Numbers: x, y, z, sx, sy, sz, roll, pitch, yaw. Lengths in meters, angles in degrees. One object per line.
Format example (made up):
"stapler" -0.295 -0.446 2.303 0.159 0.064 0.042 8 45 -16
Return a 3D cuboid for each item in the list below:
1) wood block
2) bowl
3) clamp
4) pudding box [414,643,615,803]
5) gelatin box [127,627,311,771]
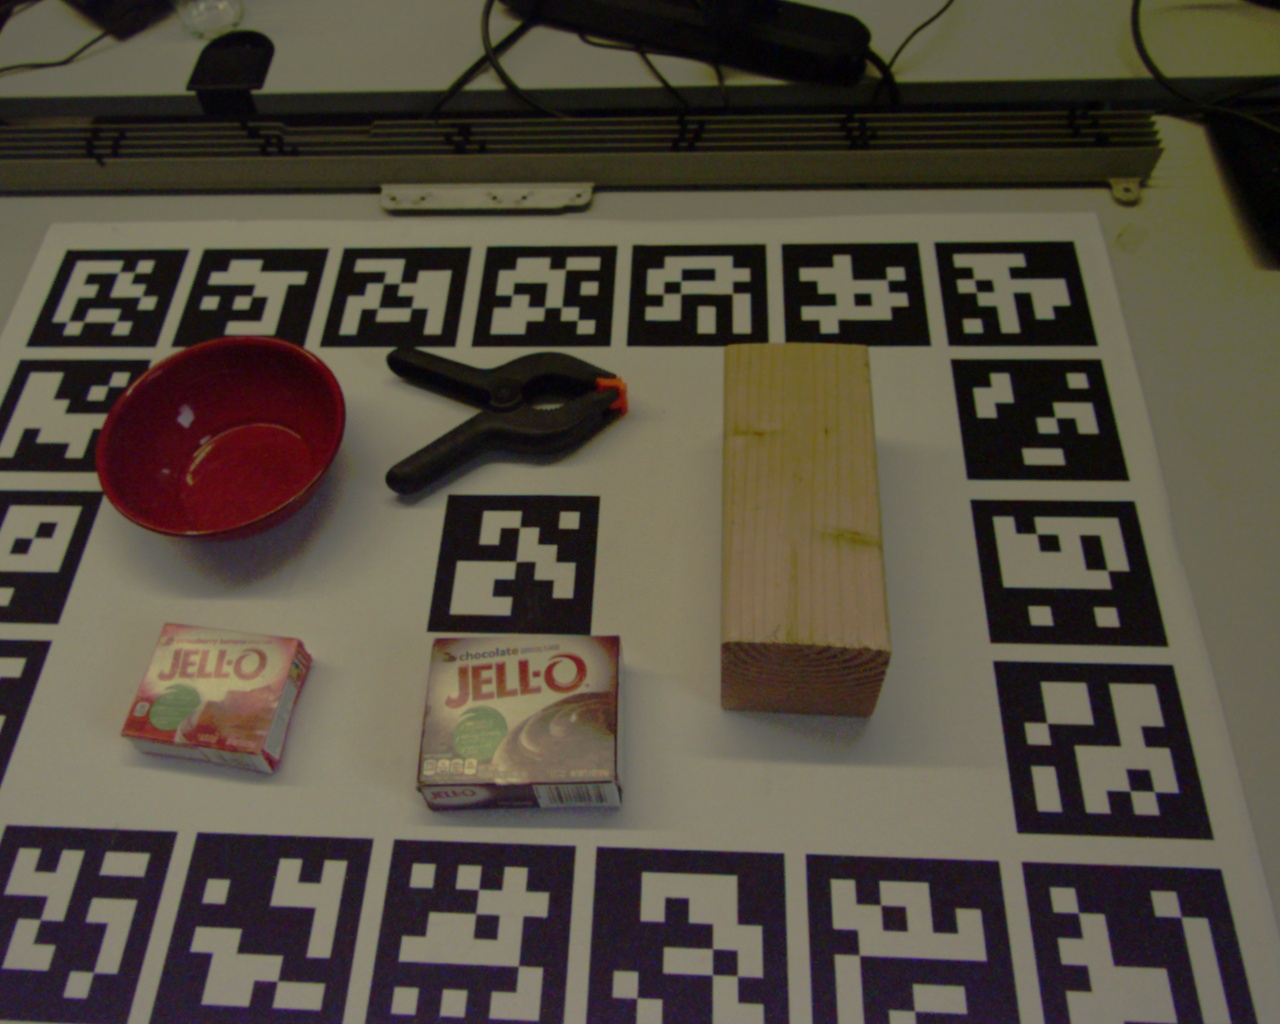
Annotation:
"wood block" 0.090 0.014 0.703 0.090 0.090 0.206 3 58 4
"bowl" -0.276 -0.035 0.789 0.162 0.055 0.162 -2 61 2
"clamp" -0.113 -0.063 0.808 0.165 0.036 0.122 -8 58 -3
"pudding box" -0.072 0.125 0.677 0.114 0.038 0.090 -1 62 6
"gelatin box" -0.258 0.114 0.701 0.090 0.030 0.073 7 60 8
